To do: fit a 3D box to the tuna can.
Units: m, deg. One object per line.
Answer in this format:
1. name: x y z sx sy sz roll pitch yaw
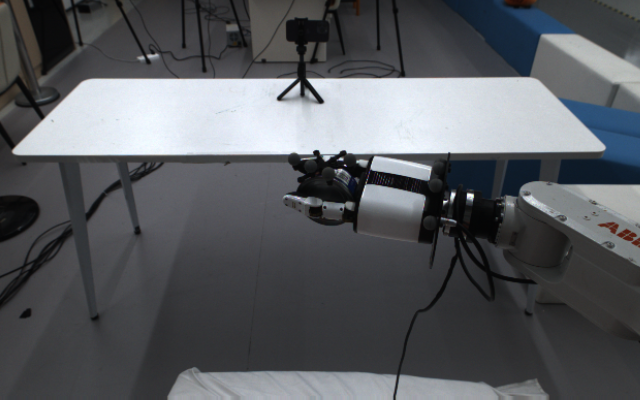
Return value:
1. tuna can: 0.013 -0.007 0.683 0.085 0.085 0.034 11 38 13
